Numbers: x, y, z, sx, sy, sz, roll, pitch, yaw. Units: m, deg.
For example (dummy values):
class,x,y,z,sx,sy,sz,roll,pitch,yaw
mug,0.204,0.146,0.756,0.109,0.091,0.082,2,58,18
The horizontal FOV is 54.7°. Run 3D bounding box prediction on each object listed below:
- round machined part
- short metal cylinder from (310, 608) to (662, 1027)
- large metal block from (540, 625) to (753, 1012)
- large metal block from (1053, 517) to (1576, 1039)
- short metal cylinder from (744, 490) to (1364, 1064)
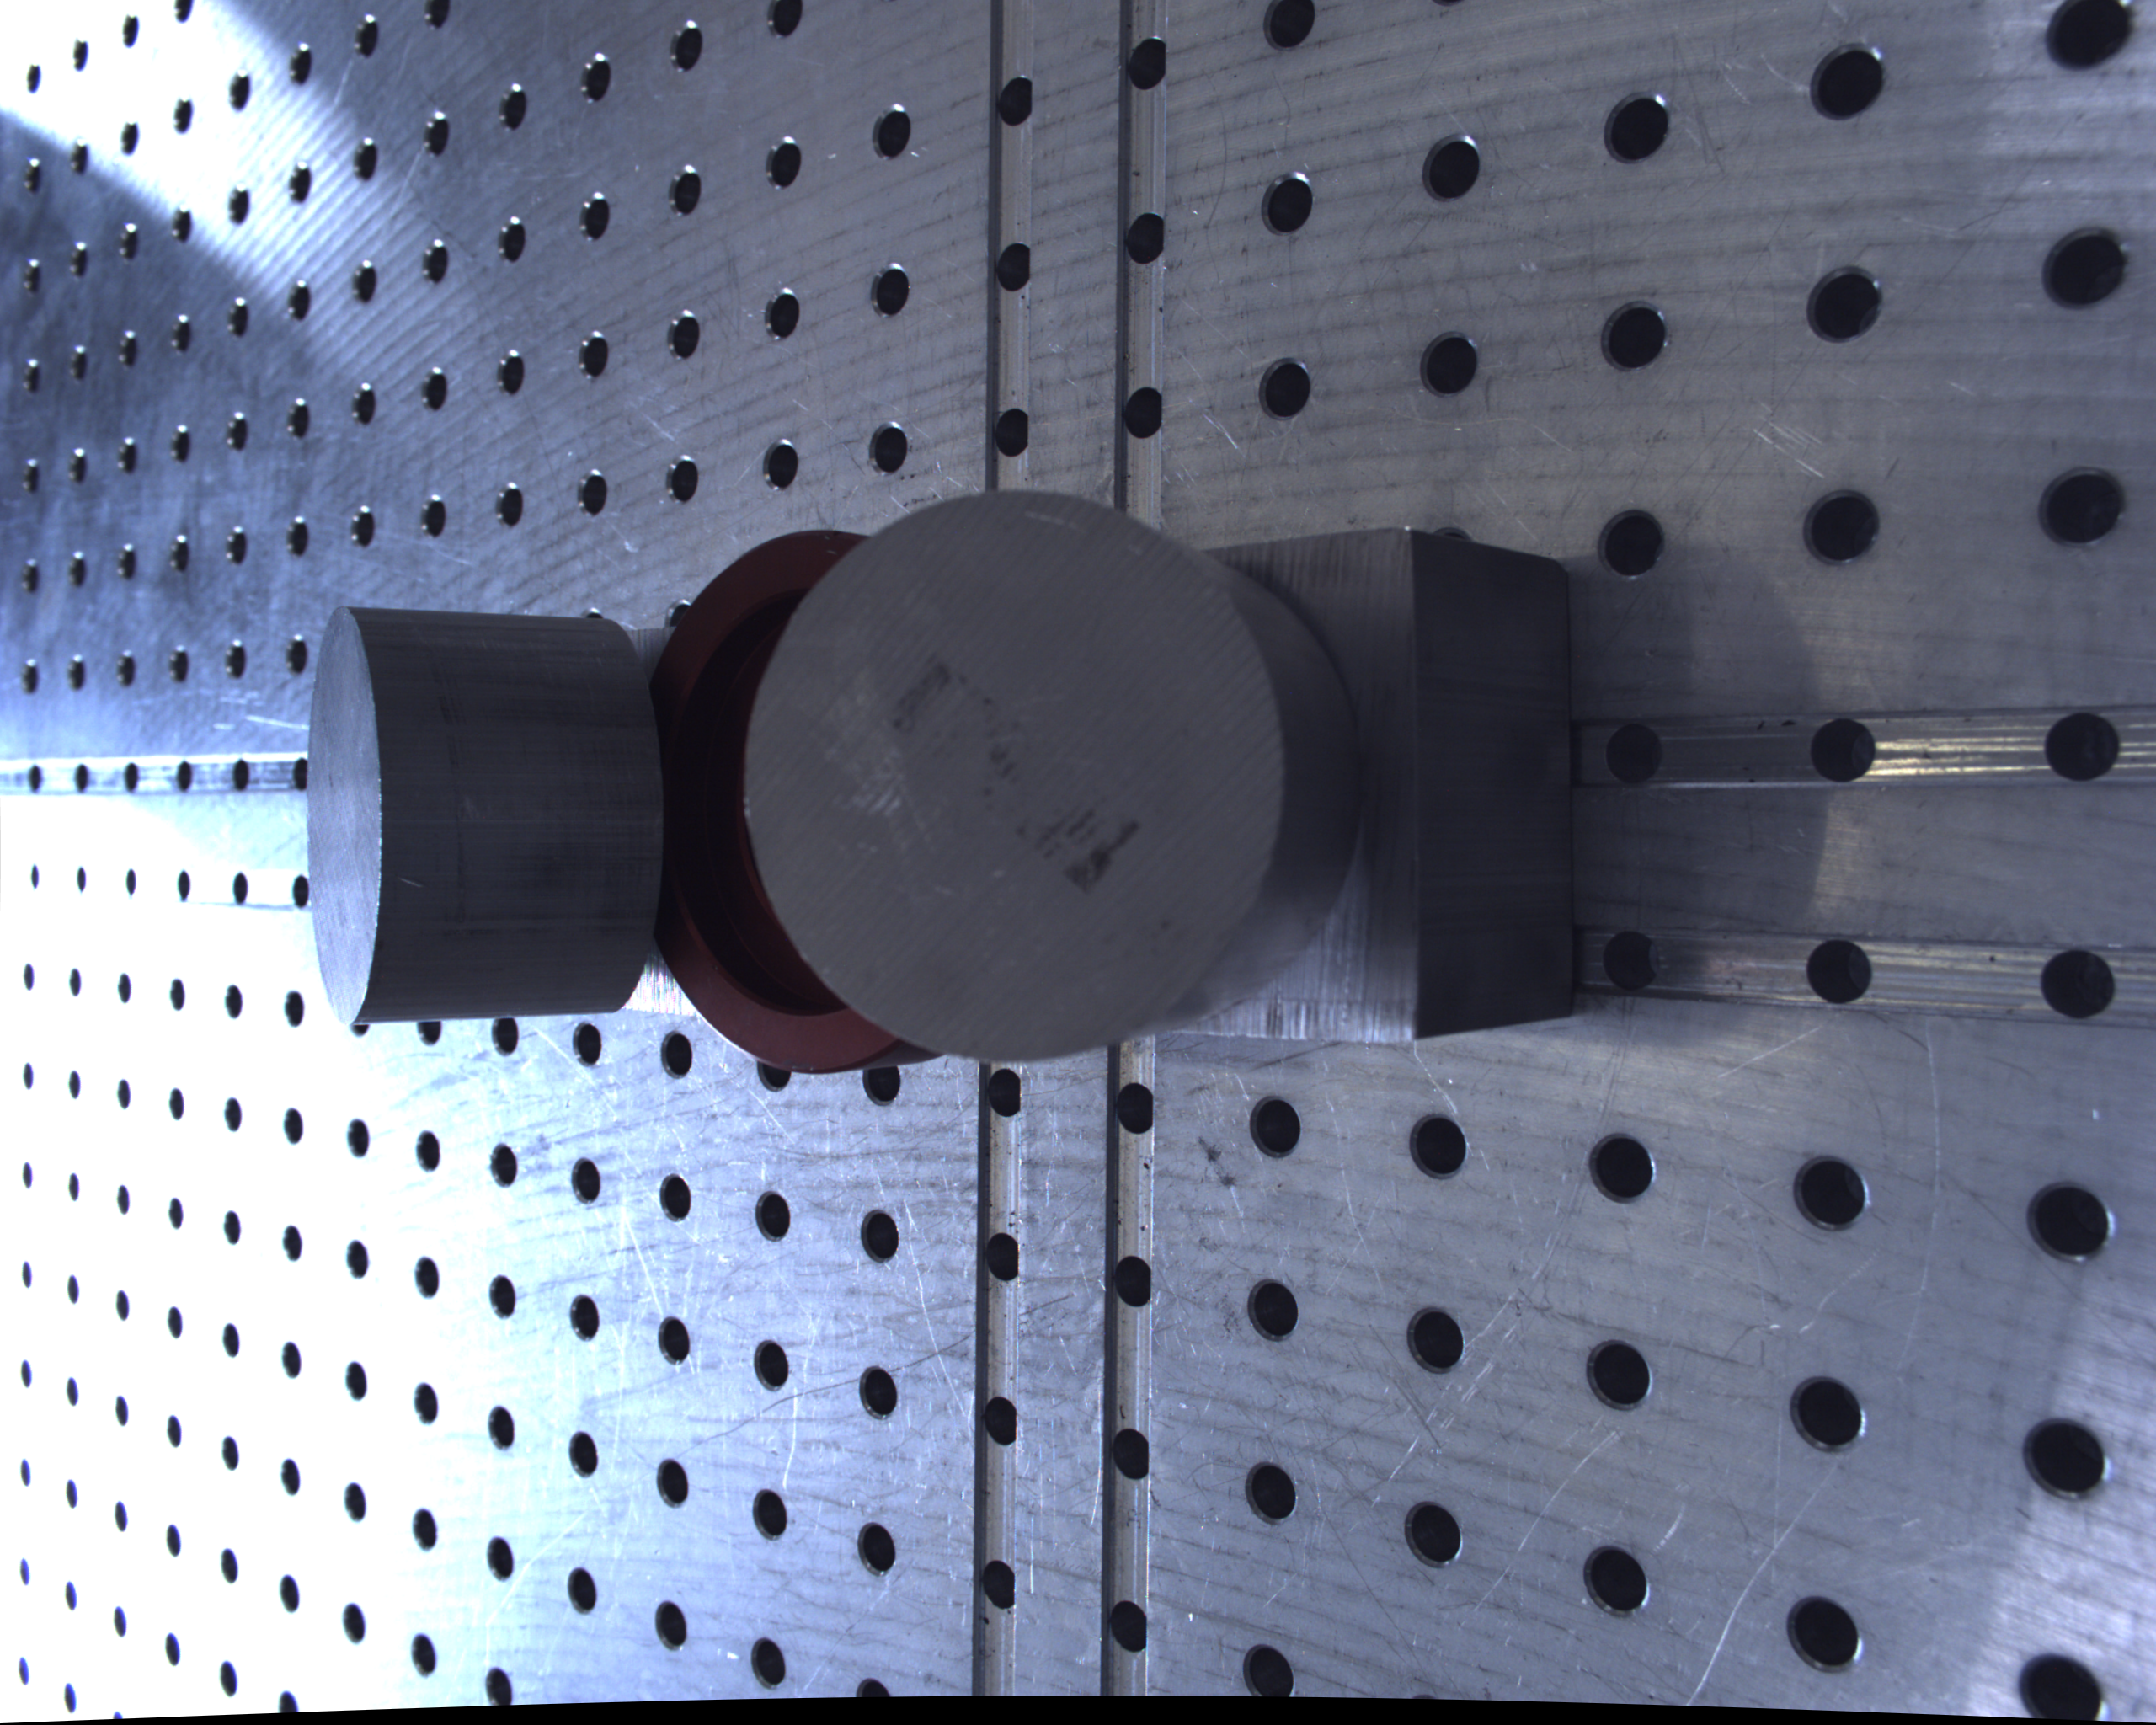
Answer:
class,x,y,z,sx,sy,sz,roll,pitch,yaw
round machined part,-0.036,-0.011,0.390,0.098,0.042,0.097,0,90,40
short metal cylinder,-0.118,-0.009,0.409,0.080,0.050,0.079,4,94,61
large metal block,-0.077,-0.010,0.457,0.080,0.050,0.080,1,91,40
large metal block,0.037,-0.013,0.362,0.080,0.050,0.080,-1,90,40
short metal cylinder,-0.002,-0.012,0.313,0.080,0.050,0.080,0,90,20
